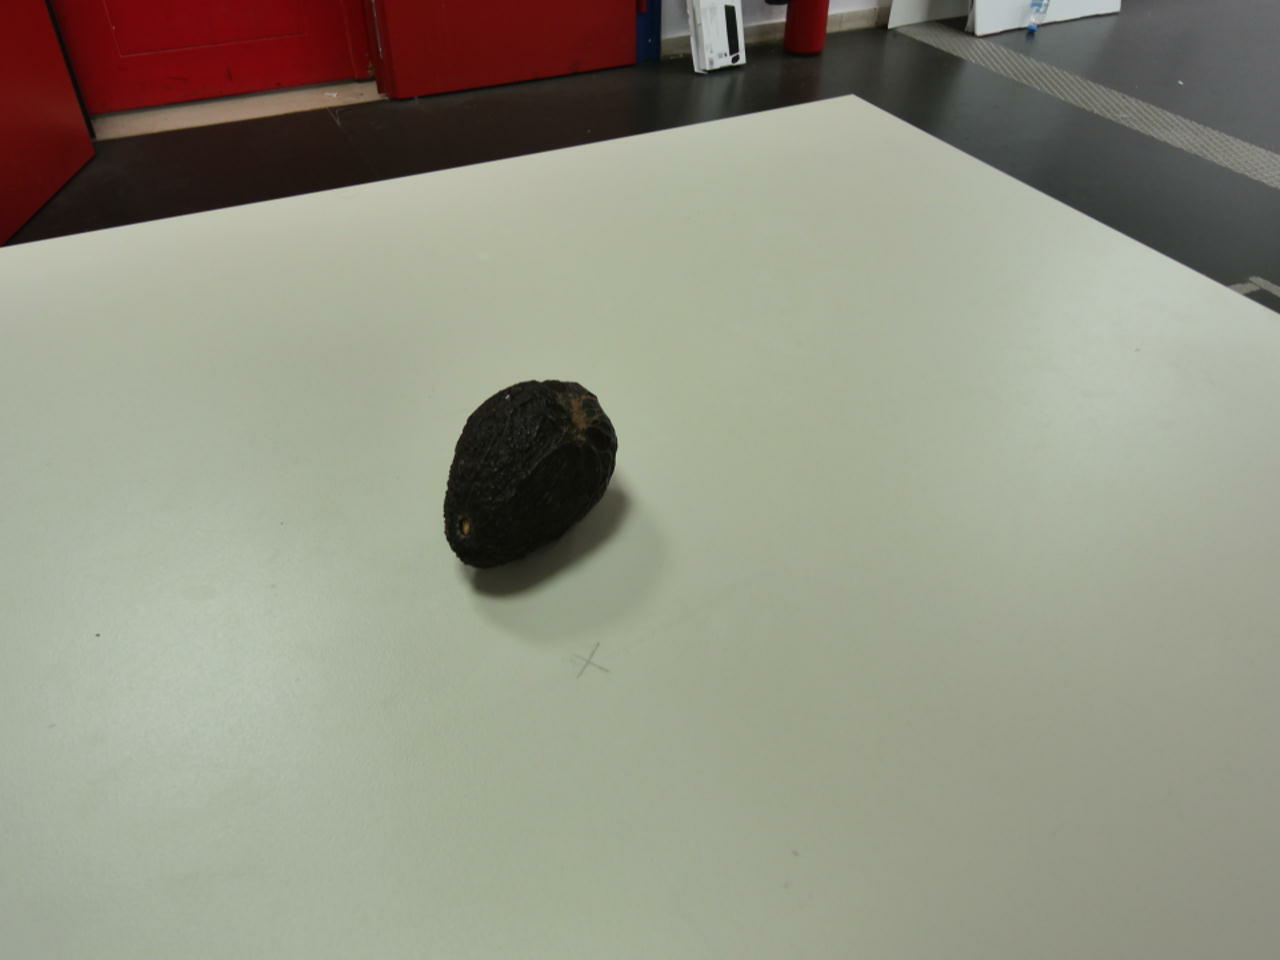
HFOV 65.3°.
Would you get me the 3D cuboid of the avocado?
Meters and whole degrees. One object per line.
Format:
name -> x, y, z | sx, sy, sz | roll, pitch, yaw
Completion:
avocado -> -0.048, -0.006, 0.414 | 0.062, 0.062, 0.092 | 27, 45, 30
